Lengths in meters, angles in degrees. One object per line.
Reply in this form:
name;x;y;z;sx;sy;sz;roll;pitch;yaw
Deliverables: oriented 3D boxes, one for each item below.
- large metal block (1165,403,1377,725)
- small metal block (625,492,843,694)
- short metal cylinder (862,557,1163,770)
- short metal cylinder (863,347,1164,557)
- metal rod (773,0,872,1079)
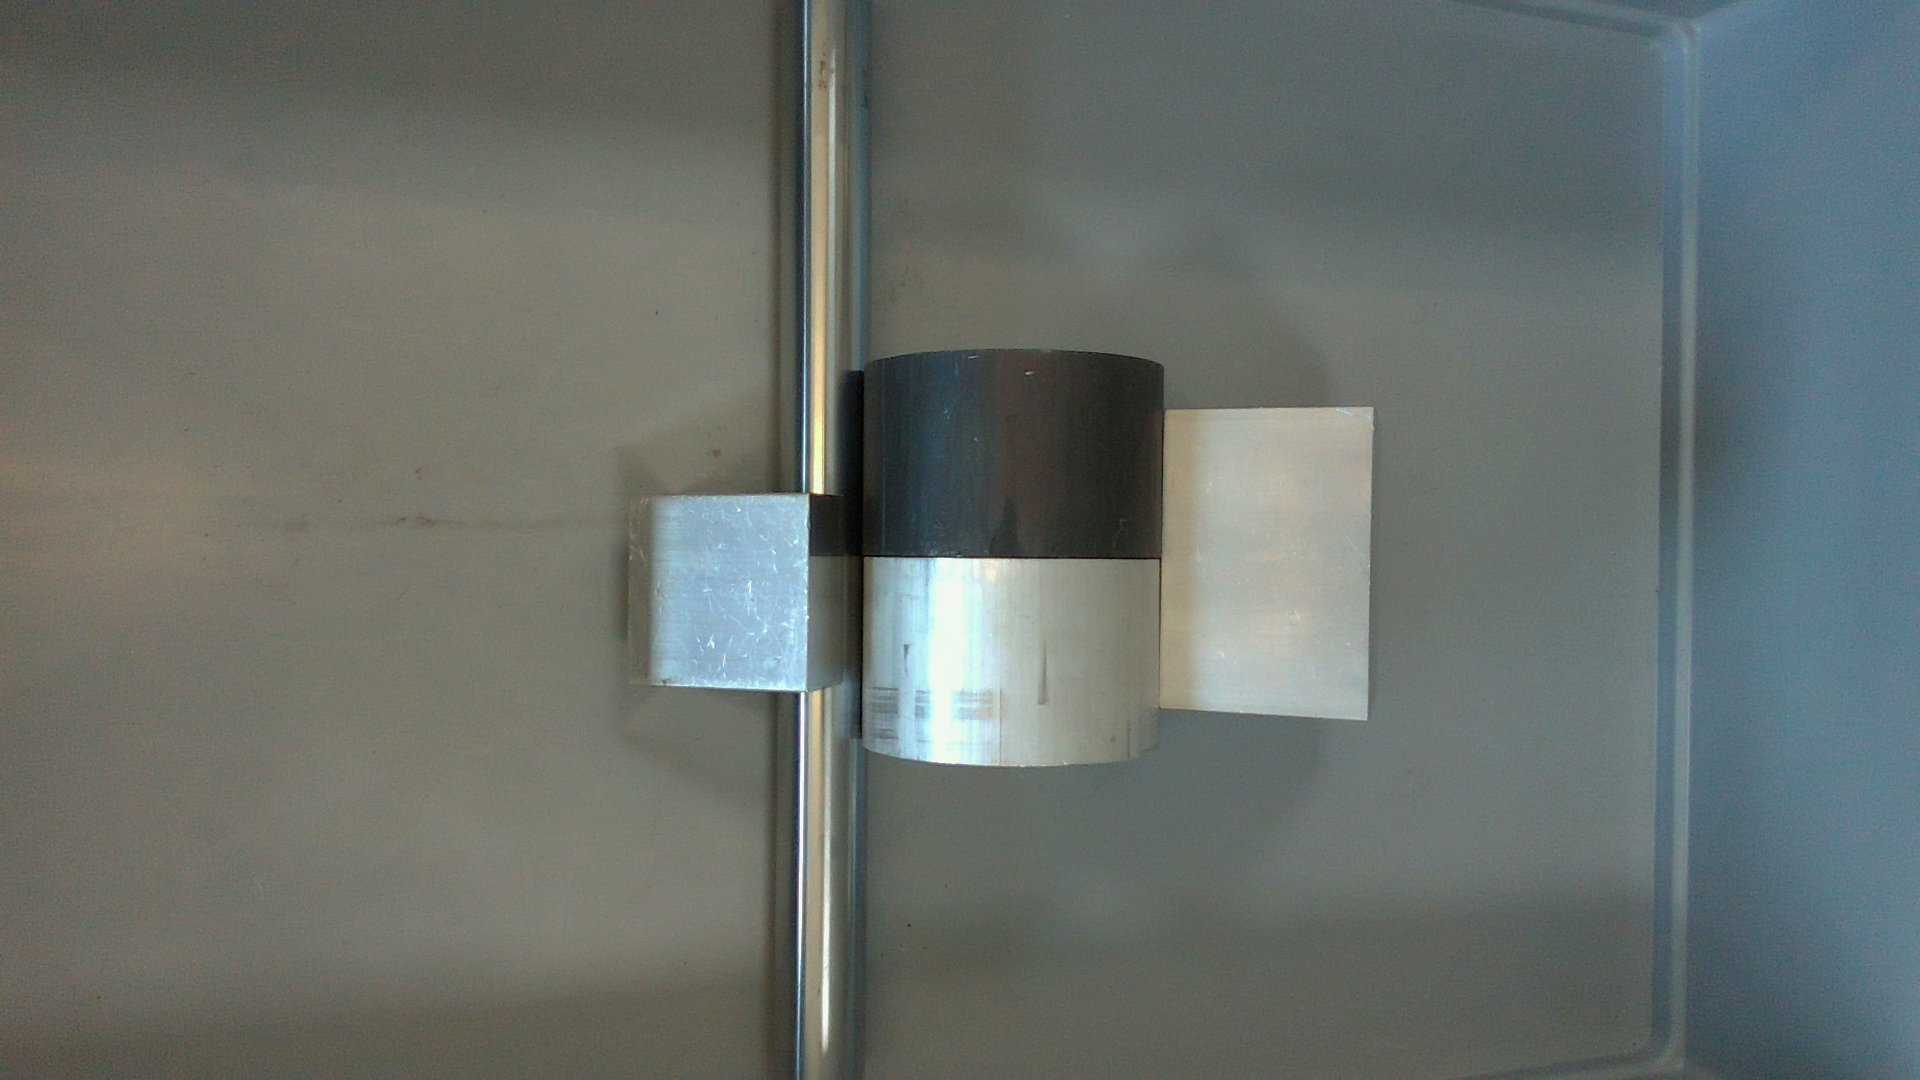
large metal block;0.090;0.006;0.388;0.050;0.080;0.080;1;90;18
small metal block;-0.059;0.013;0.359;0.050;0.025;0.050;0;89;15
short metal cylinder;0.014;0.030;0.368;0.080;0.080;0.050;1;90;-20
short metal cylinder;0.014;-0.021;0.368;0.080;0.080;0.050;1;90;-20
metal rod;-0.038;-0.003;0.378;0.025;0.025;0.300;0;90;-20
